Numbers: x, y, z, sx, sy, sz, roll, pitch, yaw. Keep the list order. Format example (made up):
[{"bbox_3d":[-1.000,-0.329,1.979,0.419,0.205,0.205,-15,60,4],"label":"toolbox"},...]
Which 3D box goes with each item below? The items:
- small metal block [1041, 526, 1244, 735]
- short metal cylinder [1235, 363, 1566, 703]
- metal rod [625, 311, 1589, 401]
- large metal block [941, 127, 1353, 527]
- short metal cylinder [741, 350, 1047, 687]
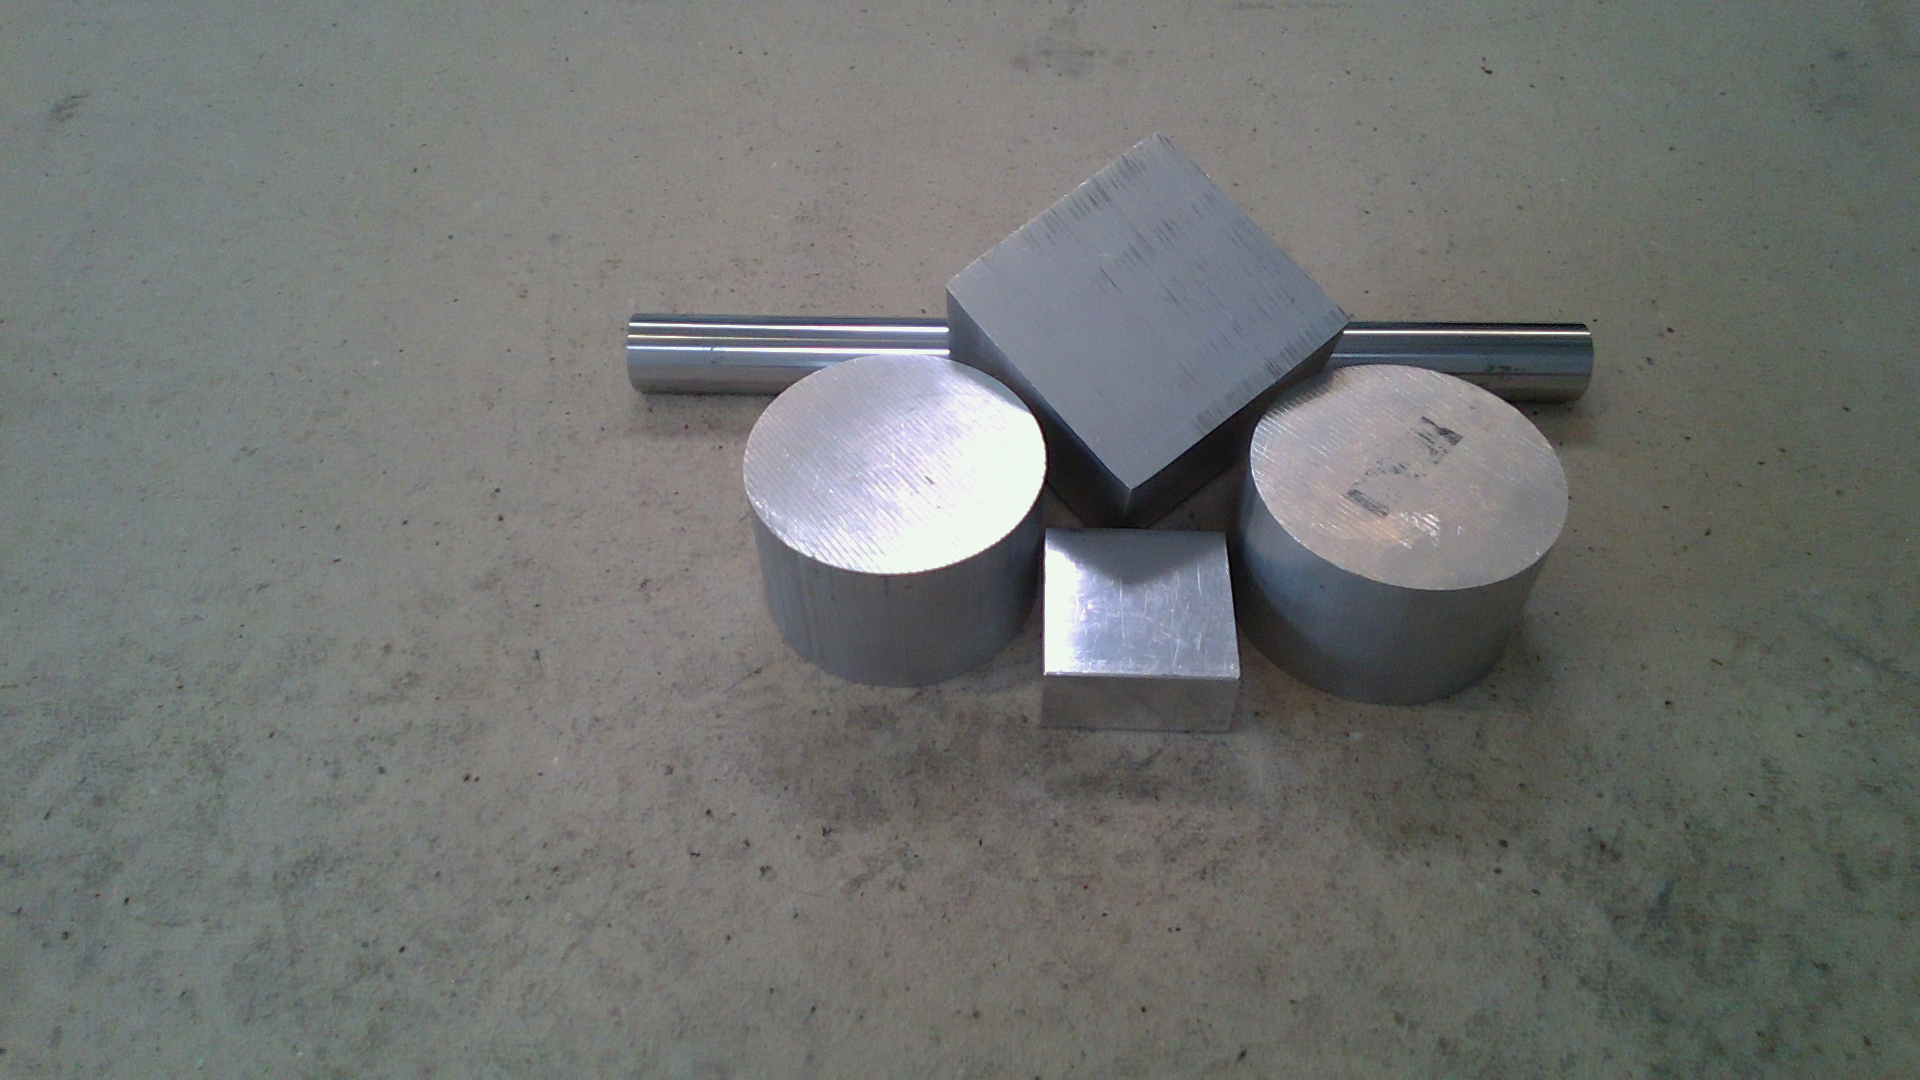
[{"bbox_3d":[0.048,0.024,0.372,0.050,0.025,0.050,2,50,1],"label":"small metal block"},{"bbox_3d":[0.117,-0.003,0.378,0.080,0.050,0.080,0,50,0],"label":"short metal cylinder"},{"bbox_3d":[0.045,-0.059,0.441,0.300,0.025,0.025,1,50,1],"label":"metal rod"},{"bbox_3d":[0.051,-0.057,0.401,0.080,0.050,0.080,-37,75,-12],"label":"large metal block"},{"bbox_3d":[-0.017,-0.007,0.380,0.080,0.050,0.080,0,50,0],"label":"short metal cylinder"}]
